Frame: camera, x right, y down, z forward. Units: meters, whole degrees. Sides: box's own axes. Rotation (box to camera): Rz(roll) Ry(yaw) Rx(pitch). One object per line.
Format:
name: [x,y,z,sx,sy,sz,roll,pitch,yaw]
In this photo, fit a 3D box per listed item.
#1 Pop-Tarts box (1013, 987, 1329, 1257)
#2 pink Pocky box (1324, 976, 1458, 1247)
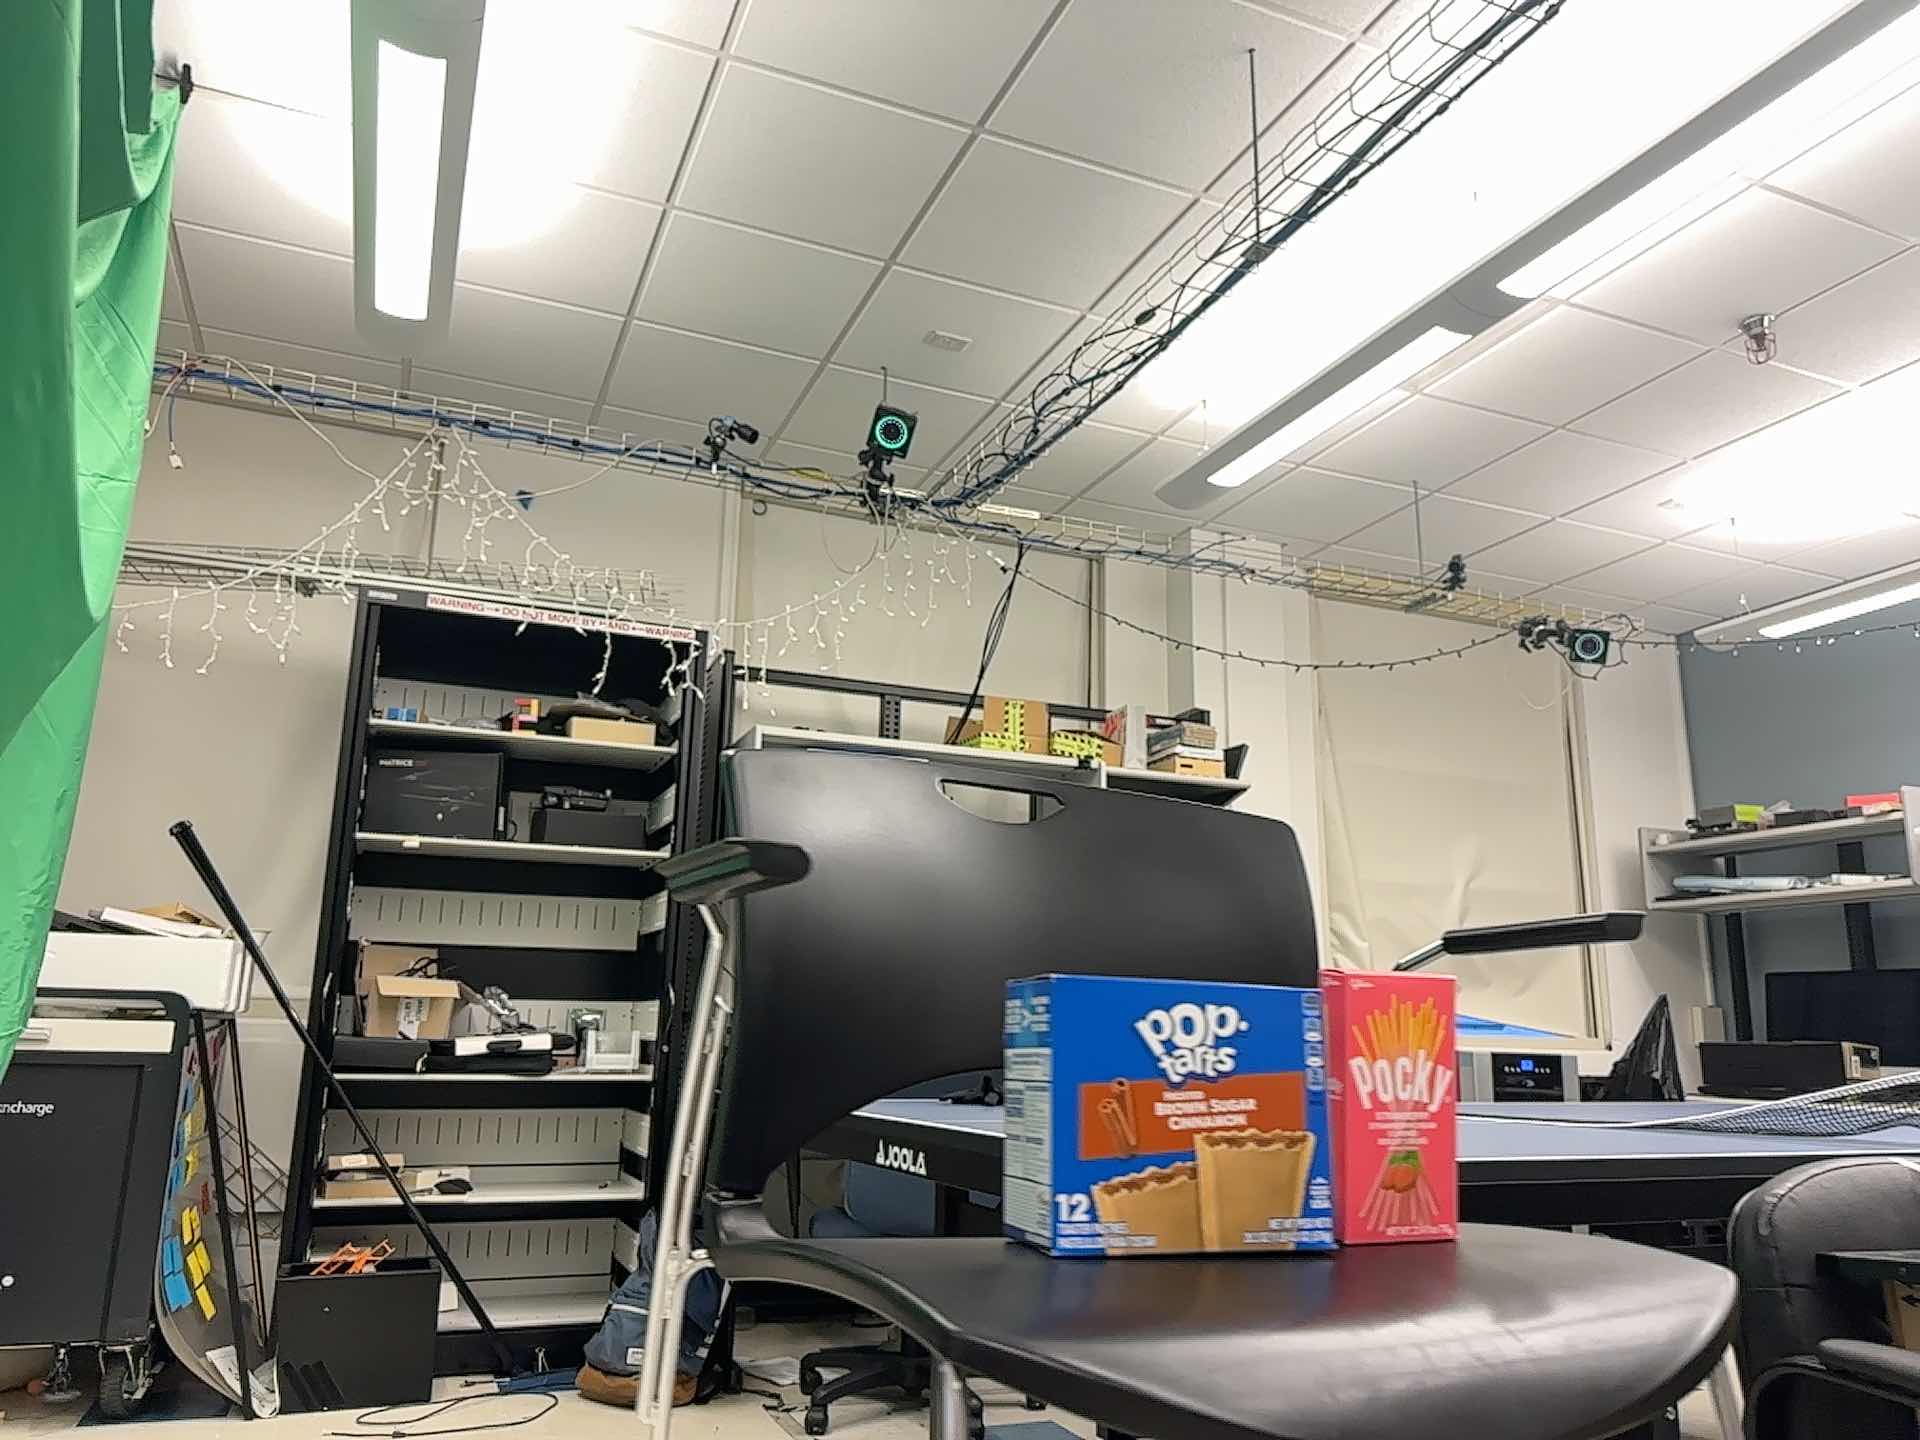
Pop-Tarts box: [0.121,0.231,0.787,0.161,0.135,0.075,7,-15,-22]
pink Pocky box: [0.261,0.235,0.819,0.084,0.155,0.029,7,-9,-26]
